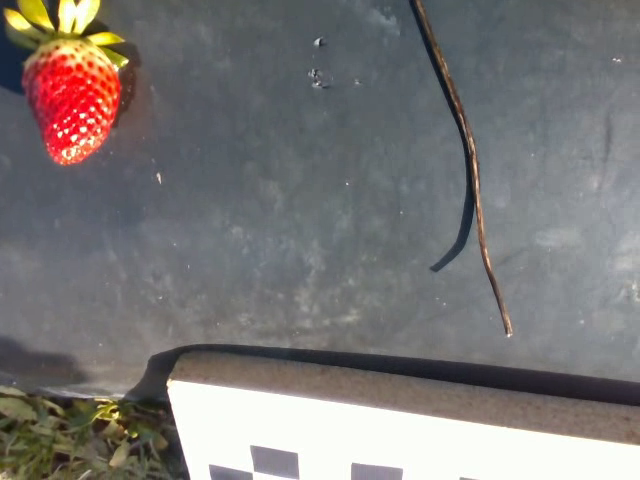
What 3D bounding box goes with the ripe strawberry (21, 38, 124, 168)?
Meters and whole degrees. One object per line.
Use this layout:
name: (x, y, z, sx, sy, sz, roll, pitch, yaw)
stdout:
ripe strawberry: (-0.067, -0.036, 0.168, 0.028, 0.041, 0.031, -15, -23, 25)
